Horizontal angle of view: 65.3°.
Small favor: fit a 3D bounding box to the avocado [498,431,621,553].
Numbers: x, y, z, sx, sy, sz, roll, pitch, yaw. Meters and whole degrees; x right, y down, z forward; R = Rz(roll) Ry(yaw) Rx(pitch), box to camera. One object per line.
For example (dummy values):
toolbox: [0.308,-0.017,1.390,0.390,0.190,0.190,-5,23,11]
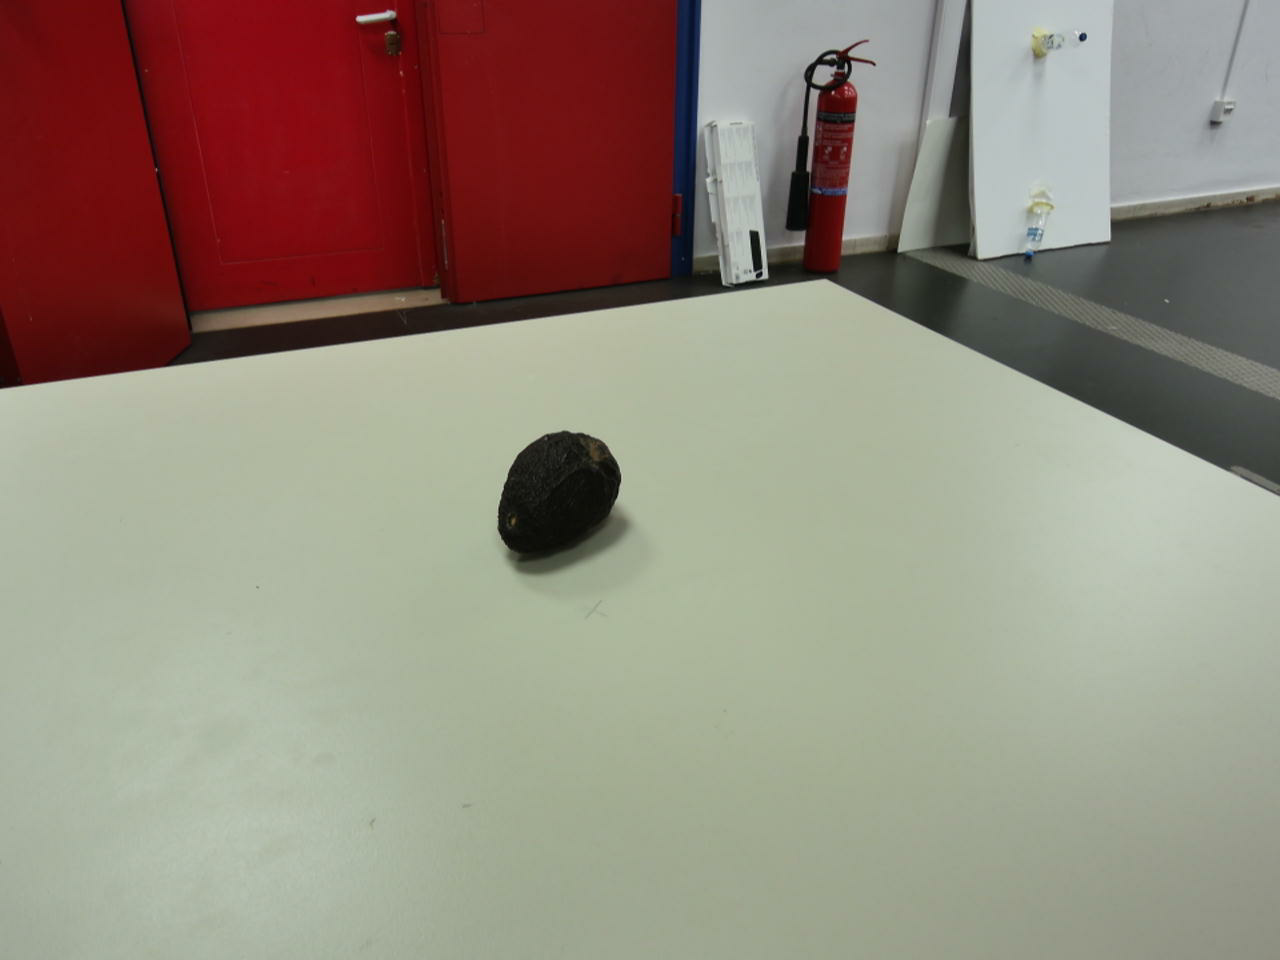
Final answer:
avocado: [-0.050,0.006,0.589,0.062,0.062,0.092,21,34,36]
